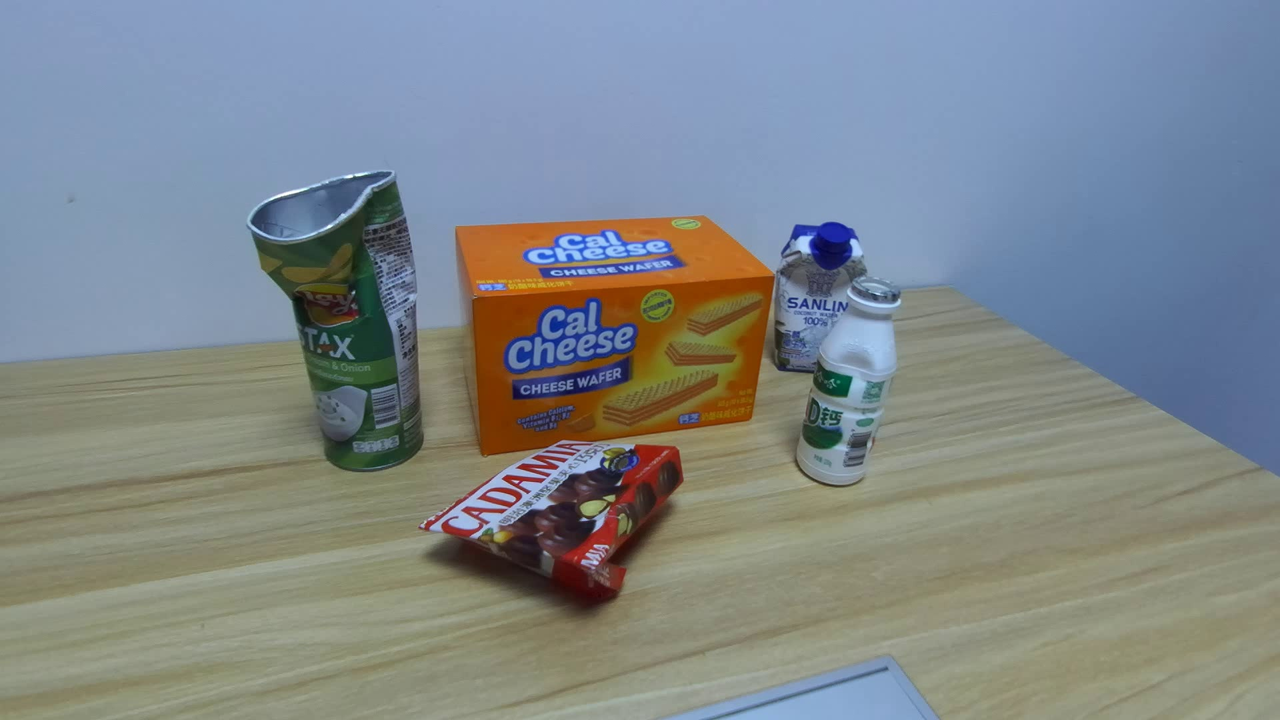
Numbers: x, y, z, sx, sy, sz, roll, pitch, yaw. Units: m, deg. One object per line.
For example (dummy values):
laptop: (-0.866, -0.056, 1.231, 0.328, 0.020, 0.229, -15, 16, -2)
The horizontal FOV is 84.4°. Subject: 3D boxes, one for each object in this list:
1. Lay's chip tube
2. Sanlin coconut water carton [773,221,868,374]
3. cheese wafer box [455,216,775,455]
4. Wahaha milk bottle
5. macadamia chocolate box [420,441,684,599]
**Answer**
Lay's chip tube: (-0.188, -0.018, 0.460, 0.079, 0.199, 0.071, 0, 37, -4)
Sanlin coconut water carton: (0.156, -0.057, 0.625, 0.078, 0.142, 0.057, 5, 34, 2)
cheese wafer box: (-0.027, -0.029, 0.568, 0.222, 0.129, 0.147, -6, 31, -18)
Wahaha milk bottle: (0.144, 0.021, 0.487, 0.053, 0.137, 0.053, 4, 28, -2)
macadamia chocolate box: (-0.047, 0.087, 0.429, 0.112, 0.056, 0.127, 17, 31, 21)
